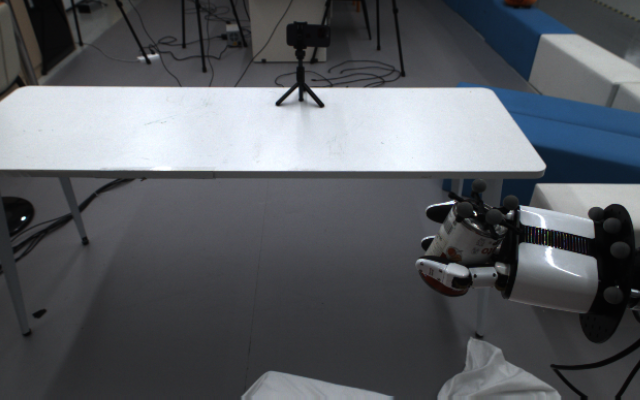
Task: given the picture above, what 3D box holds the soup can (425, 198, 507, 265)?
[{"bbox_3d":[0.171,0.056,0.580,0.067,0.101,0.067,13,35,-10],"label":"soup can"}]
